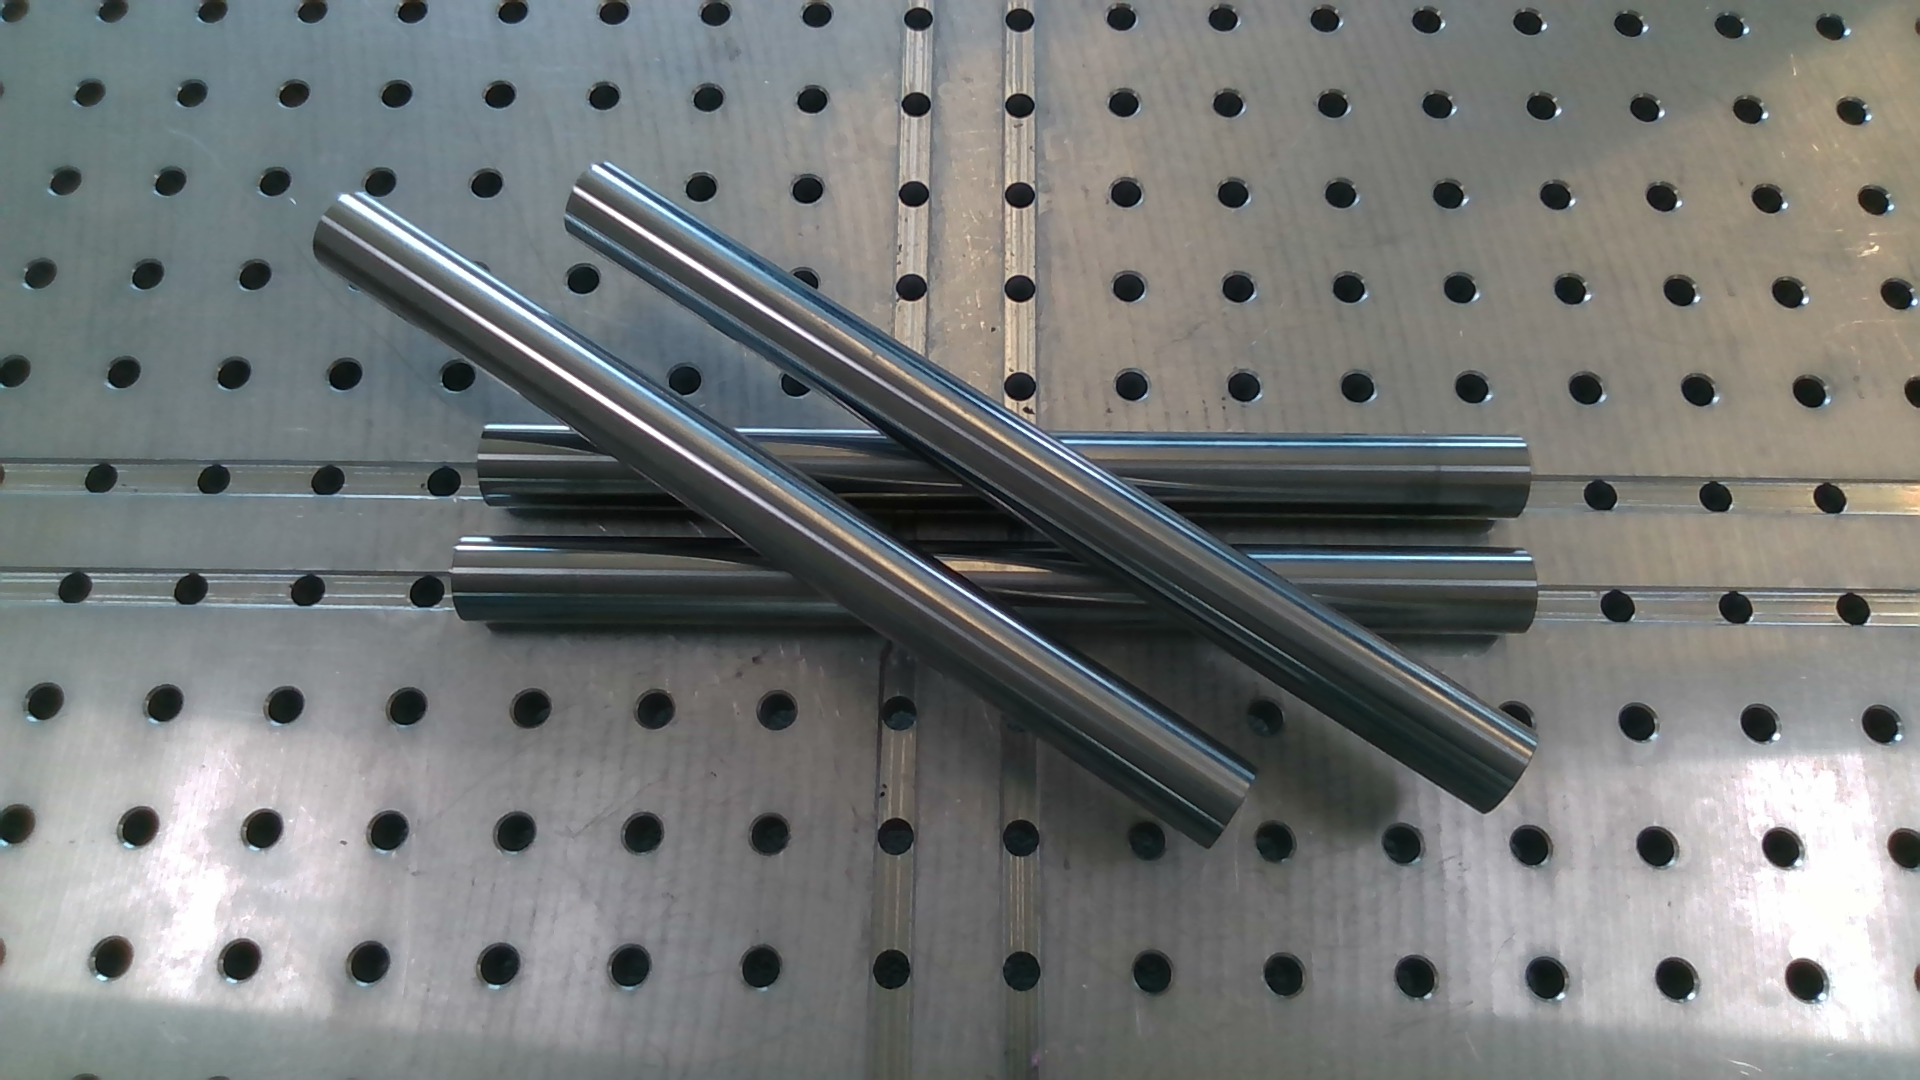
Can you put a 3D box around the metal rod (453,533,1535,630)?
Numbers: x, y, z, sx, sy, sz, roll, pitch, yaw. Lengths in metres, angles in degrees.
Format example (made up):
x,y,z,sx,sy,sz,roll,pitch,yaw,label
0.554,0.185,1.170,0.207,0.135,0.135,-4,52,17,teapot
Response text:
x,y,z,sx,sy,sz,roll,pitch,yaw,label
0.009,0.012,0.394,0.300,0.025,0.025,1,70,0,metal rod

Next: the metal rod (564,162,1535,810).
x,y,z,sx,sy,sz,roll,pitch,yaw,label
0.015,-0.021,0.380,0.300,0.025,0.025,33,74,11,metal rod

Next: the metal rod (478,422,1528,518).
x,y,z,sx,sy,sz,roll,pitch,yaw,label
0.012,-0.021,0.406,0.300,0.025,0.025,1,70,0,metal rod

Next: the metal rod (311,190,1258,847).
x,y,z,sx,sy,sz,roll,pitch,yaw,label
-0.056,-0.012,0.376,0.300,0.025,0.025,33,73,11,metal rod
